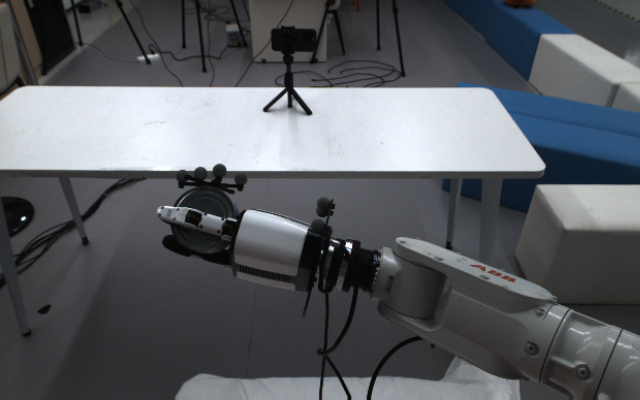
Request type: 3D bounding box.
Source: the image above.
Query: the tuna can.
[{"bbox_3d":[-0.148,0.027,0.634,0.085,0.034,0.085,-1,76,3],"label":"tuna can"}]
